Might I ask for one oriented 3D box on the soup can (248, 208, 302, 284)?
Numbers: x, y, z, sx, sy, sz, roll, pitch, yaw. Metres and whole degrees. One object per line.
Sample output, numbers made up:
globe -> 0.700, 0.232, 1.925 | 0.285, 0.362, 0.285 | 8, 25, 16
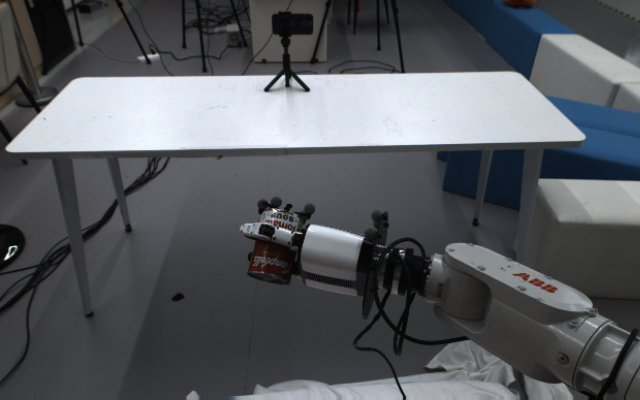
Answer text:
soup can -> -0.067, 0.071, 0.736 | 0.067, 0.067, 0.101 | 9, 71, 9
